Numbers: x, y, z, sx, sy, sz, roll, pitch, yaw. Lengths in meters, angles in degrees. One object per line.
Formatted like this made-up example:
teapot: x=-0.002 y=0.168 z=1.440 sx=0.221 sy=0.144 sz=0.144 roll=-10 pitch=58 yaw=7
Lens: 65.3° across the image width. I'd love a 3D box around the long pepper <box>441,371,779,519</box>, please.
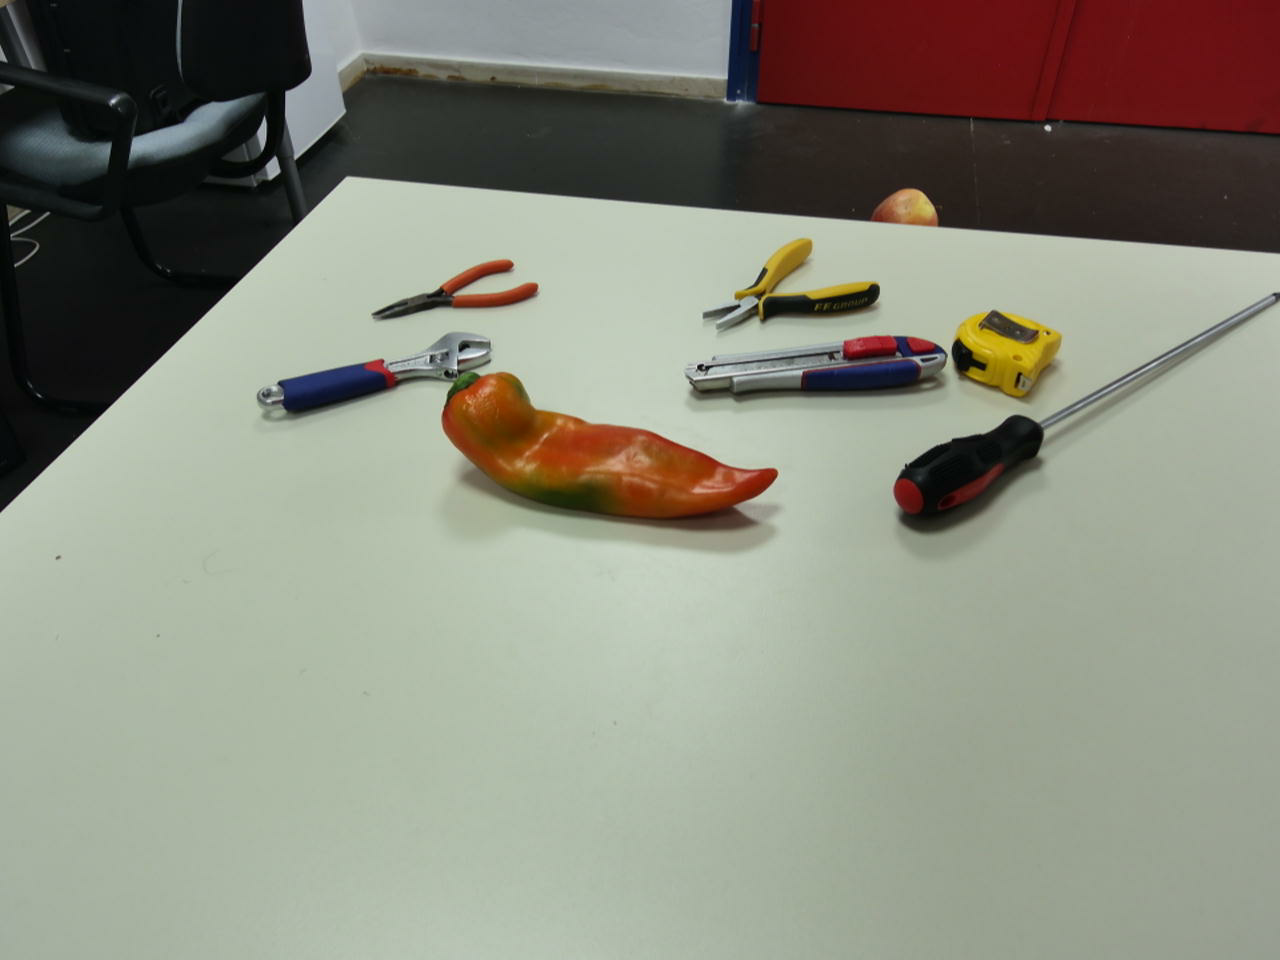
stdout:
long pepper: x=-0.020 y=-0.020 z=0.578 sx=0.199 sy=0.065 sz=0.066 roll=11 pitch=41 yaw=14
